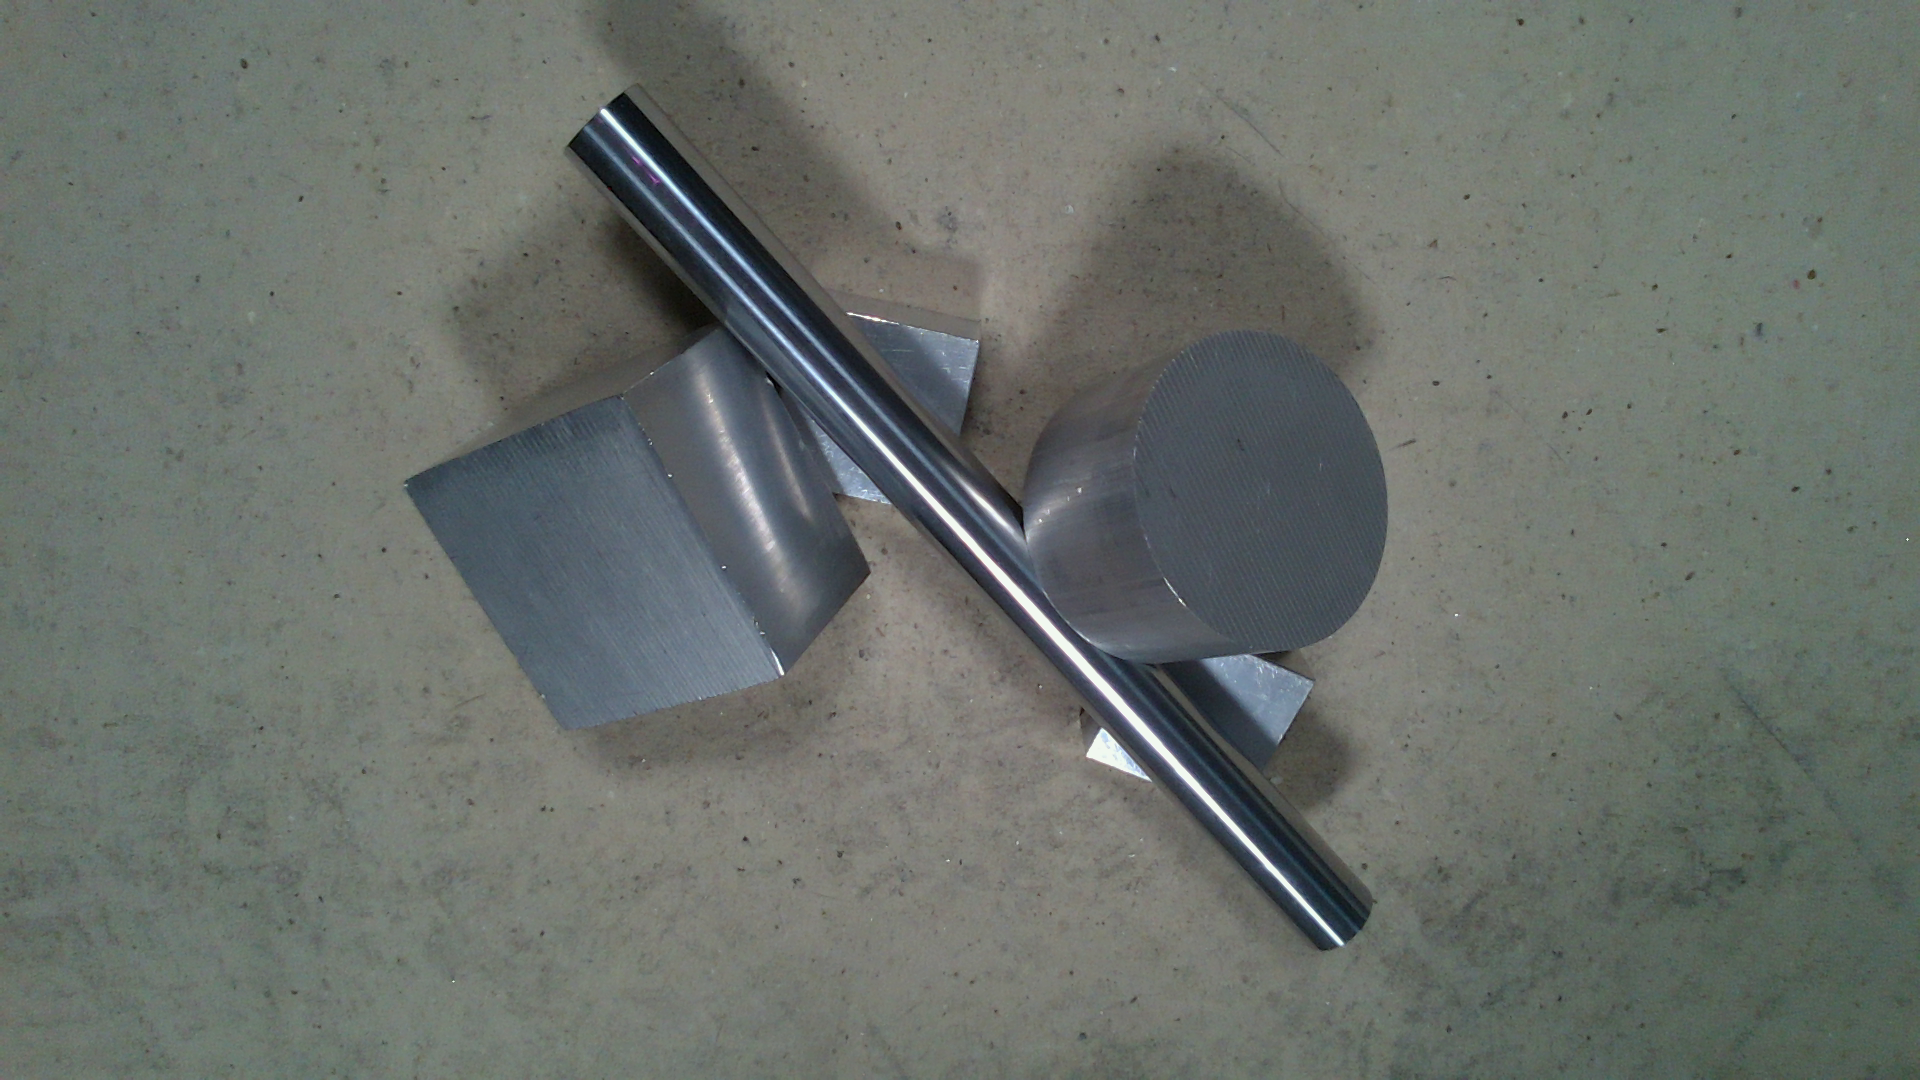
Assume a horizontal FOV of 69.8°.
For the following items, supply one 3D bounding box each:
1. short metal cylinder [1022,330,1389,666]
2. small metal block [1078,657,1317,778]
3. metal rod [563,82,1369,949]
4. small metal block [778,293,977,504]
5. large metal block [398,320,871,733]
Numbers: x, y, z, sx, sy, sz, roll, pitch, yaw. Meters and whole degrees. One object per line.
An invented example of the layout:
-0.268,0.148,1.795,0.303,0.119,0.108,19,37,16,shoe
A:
0.063,-0.009,0.357,0.080,0.050,0.080,5,80,-29,short metal cylinder
0.070,0.047,0.412,0.050,0.025,0.050,23,109,-8,small metal block
0.012,0.005,0.370,0.025,0.025,0.300,-39,106,13,metal rod
-0.025,-0.039,0.380,0.050,0.025,0.050,11,110,-4,small metal block
-0.084,-0.002,0.362,0.080,0.050,0.080,-16,112,31,large metal block
